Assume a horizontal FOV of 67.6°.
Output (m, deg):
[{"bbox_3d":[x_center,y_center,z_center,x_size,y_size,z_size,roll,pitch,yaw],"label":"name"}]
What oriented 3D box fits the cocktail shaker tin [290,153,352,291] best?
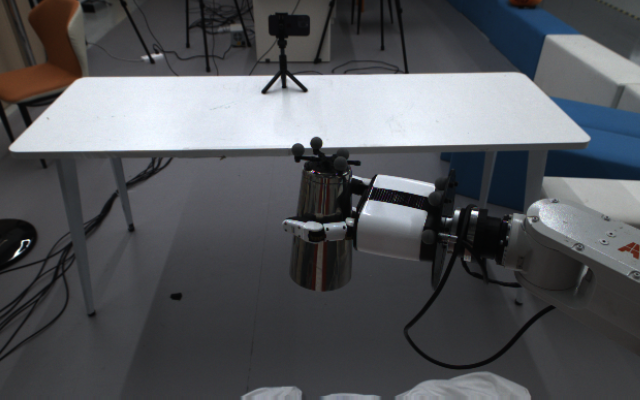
[{"bbox_3d":[0.006,0.031,0.679,0.093,0.170,0.093,2,26,-1],"label":"cocktail shaker tin"}]
